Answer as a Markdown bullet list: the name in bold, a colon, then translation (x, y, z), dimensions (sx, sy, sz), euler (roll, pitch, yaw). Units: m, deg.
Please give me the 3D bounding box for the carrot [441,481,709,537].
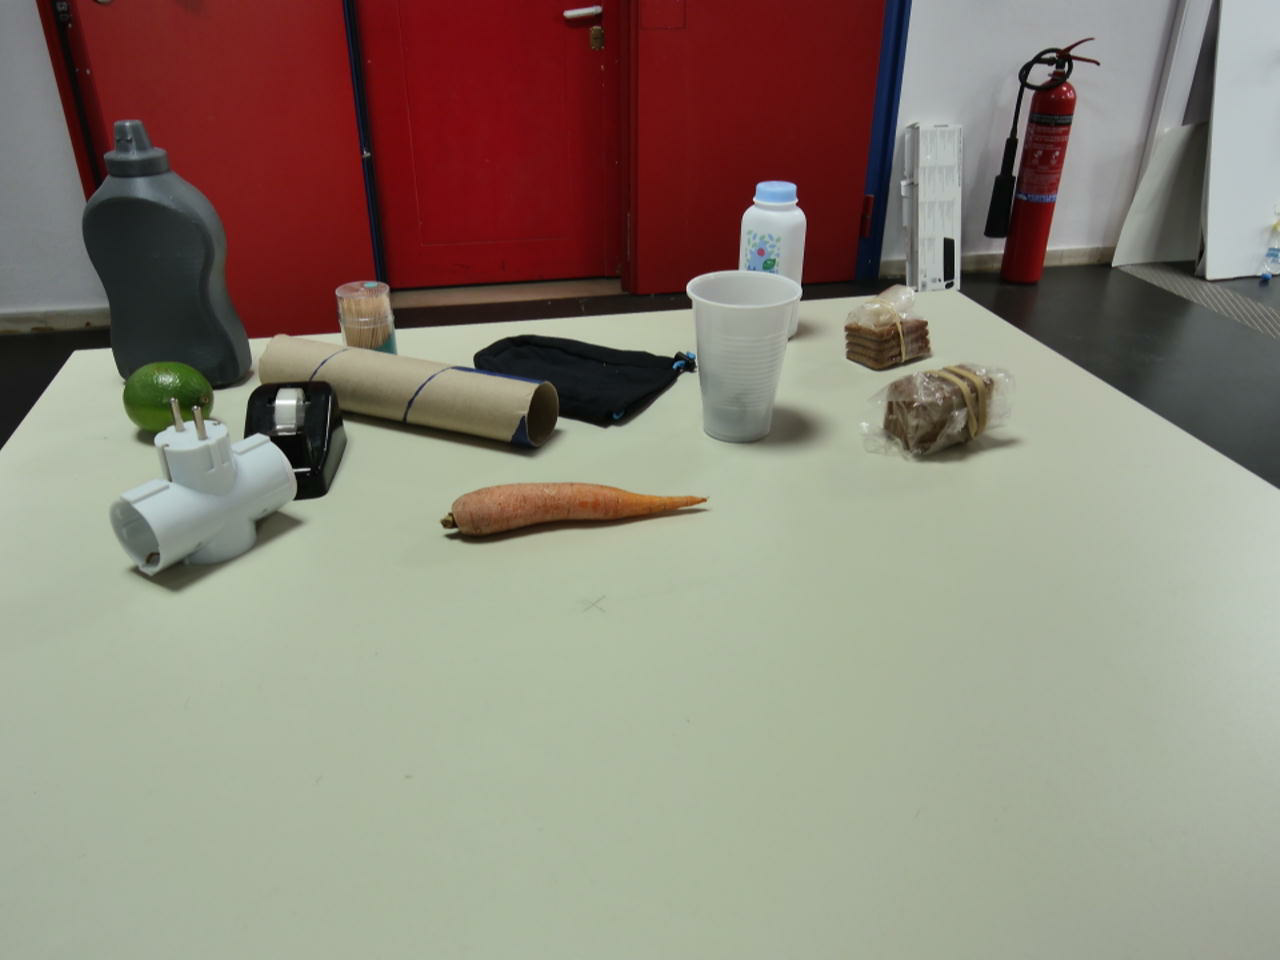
- **carrot**: translation (-0.038, 0.013, 0.611), dimensions (0.163, 0.029, 0.031), euler (-6, 27, -11)
